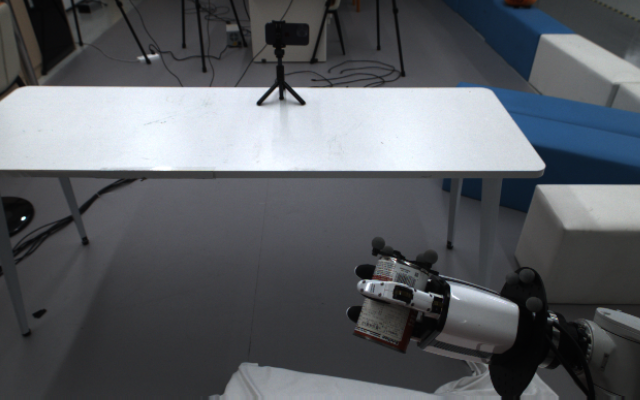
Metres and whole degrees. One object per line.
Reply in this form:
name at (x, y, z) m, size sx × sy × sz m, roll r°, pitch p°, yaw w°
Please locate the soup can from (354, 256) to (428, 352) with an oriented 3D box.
soup can at (0.090, 0.127, 0.594) m, size 0.067 × 0.067 × 0.101 m, roll 16°, pitch 75°, yaw 19°
